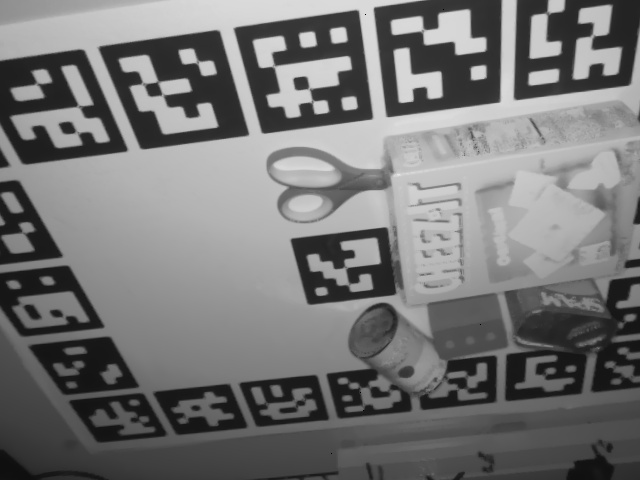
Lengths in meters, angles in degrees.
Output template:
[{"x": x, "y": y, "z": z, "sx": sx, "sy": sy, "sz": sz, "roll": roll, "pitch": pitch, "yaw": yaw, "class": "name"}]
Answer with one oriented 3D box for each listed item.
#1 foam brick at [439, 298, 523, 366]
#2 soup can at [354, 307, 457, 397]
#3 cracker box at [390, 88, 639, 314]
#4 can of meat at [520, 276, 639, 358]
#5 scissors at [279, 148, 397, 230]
[{"x": 0.174, "y": 0.096, "z": 0.760, "sx": 0.077, "sy": 0.052, "sz": 0.052, "roll": -16, "pitch": 125, "yaw": 12, "class": "foam brick"}, {"x": 0.098, "y": 0.128, "z": 0.782, "sx": 0.103, "sy": 0.068, "sz": 0.067, "roll": 34, "pitch": 120, "yaw": -29, "class": "soup can"}, {"x": 0.187, "y": -0.028, "z": 0.633, "sx": 0.213, "sy": 0.072, "sz": 0.163, "roll": -14, "pitch": 127, "yaw": 5, "class": "cracker box"}, {"x": 0.262, "y": 0.070, "z": 0.717, "sx": 0.102, "sy": 0.084, "sz": 0.057, "roll": 4, "pitch": 127, "yaw": -2, "class": "can of meat"}, {"x": 0.067, "y": -0.060, "z": 0.647, "sx": 0.202, "sy": 0.016, "sz": 0.087, "roll": -11, "pitch": 126, "yaw": 8, "class": "scissors"}]
